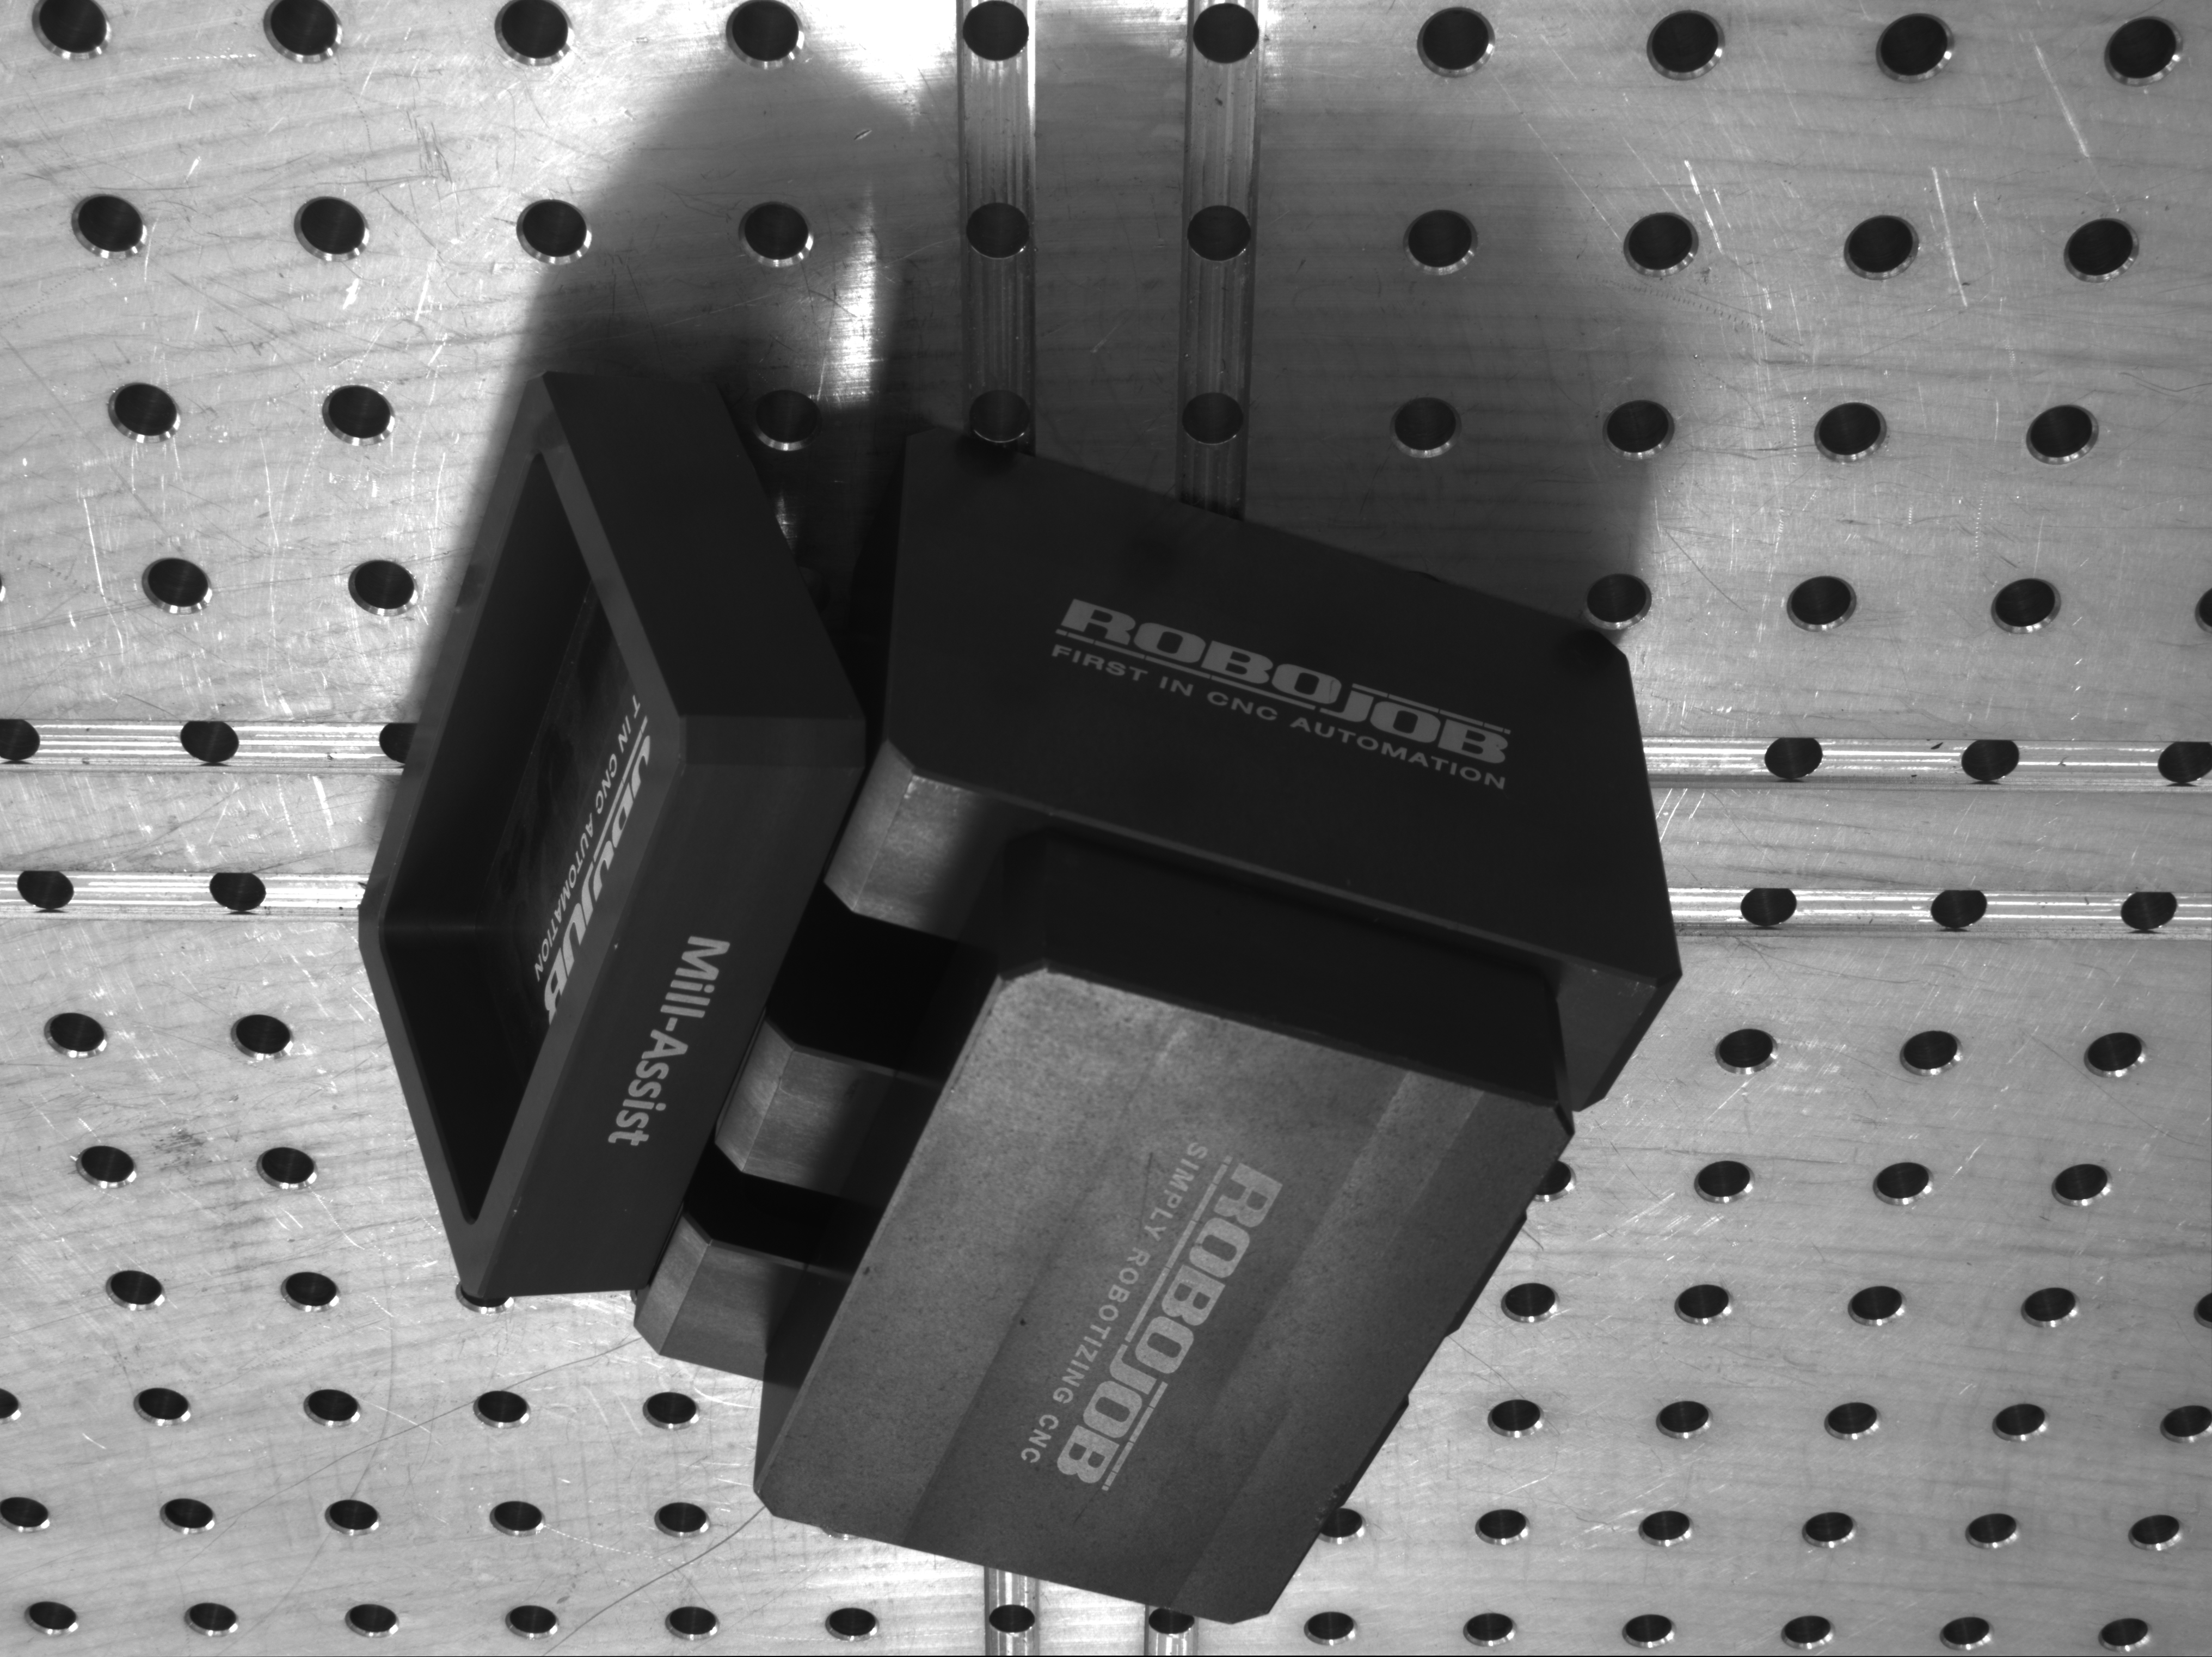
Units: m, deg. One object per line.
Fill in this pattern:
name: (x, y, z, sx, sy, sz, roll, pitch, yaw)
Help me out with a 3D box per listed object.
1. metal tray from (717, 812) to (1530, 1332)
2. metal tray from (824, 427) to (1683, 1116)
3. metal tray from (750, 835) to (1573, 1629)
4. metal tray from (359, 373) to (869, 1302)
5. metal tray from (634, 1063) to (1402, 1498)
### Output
metal tray: (0.003, 0.033, 0.626, 0.130, 0.090, 0.030, 15, 127, -13)
metal tray: (0.024, -0.010, 0.591, 0.130, 0.090, 0.030, 16, 129, -13)
metal tray: (0.006, 0.067, 0.578, 0.090, 0.030, 0.130, 16, 128, -13)
metal tray: (-0.084, 0.003, 0.599, 0.030, 0.090, 0.130, 1, 134, -30)
metal tray: (-0.014, 0.066, 0.655, 0.130, 0.090, 0.030, 16, 128, -14)
